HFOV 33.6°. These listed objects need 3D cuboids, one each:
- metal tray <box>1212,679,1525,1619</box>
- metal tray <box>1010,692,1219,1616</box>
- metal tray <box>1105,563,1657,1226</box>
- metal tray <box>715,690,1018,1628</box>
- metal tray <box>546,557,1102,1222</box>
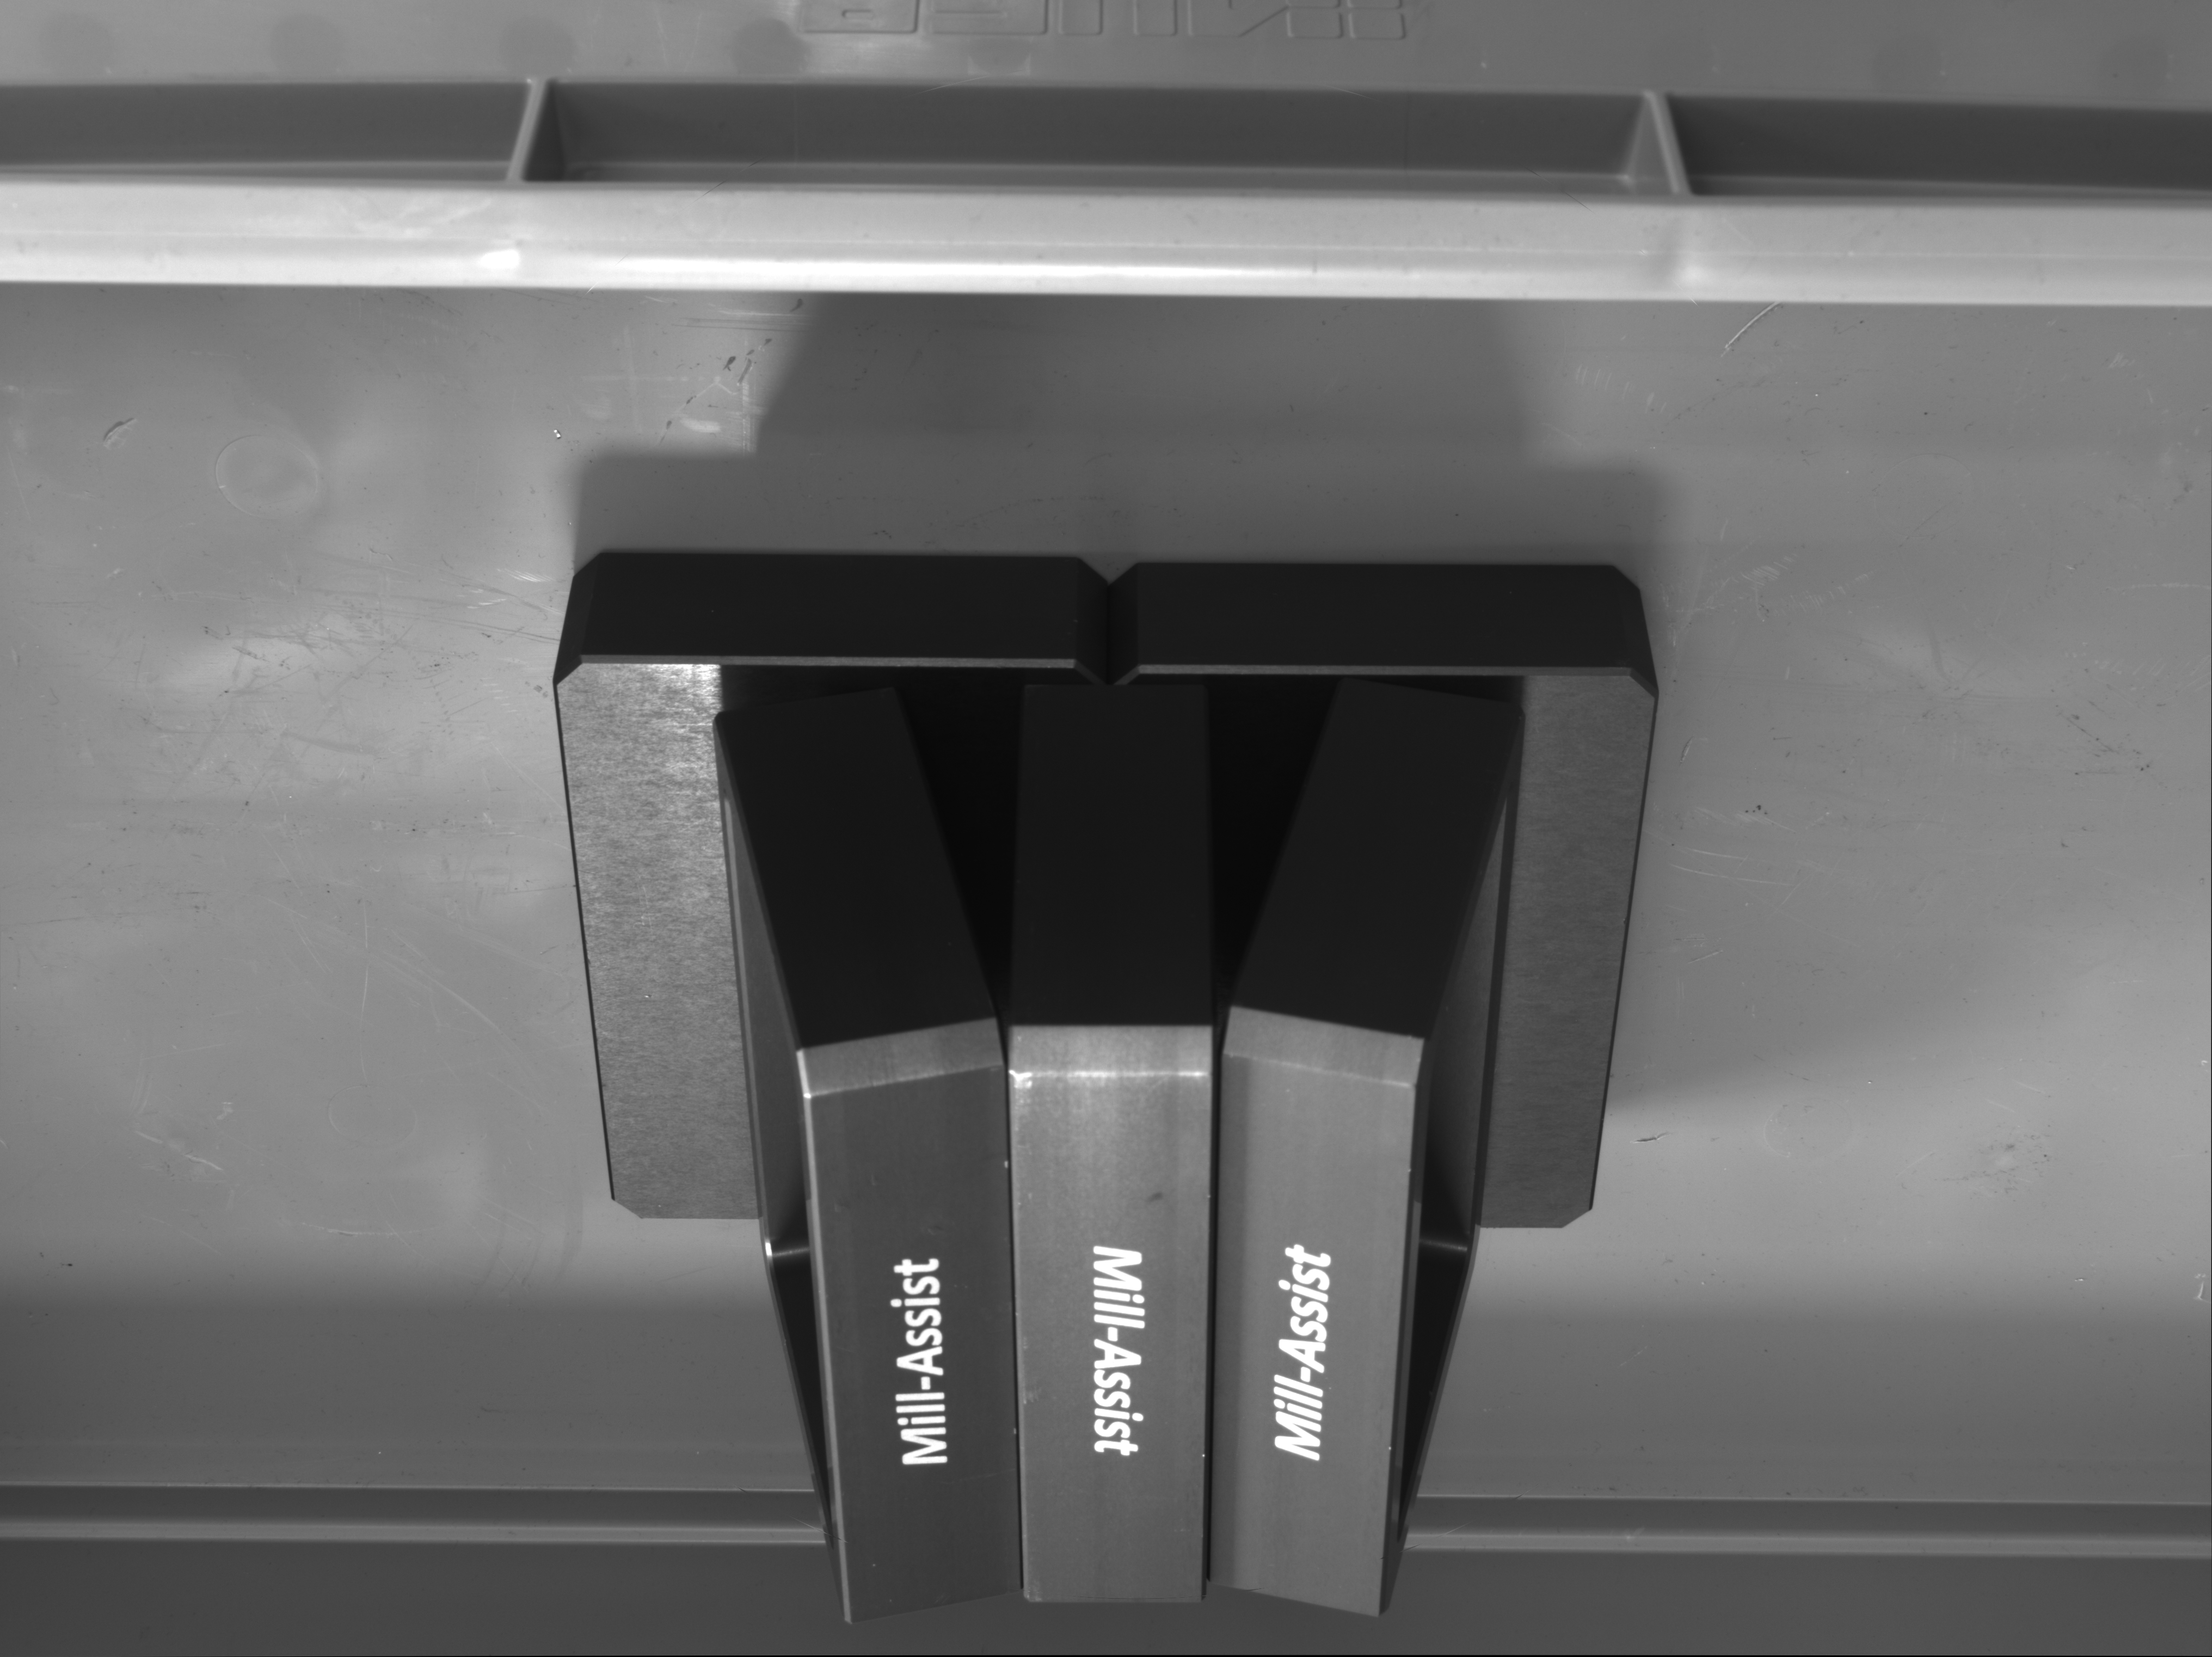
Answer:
[{"bbox_3d":[0.042,0.053,0.597,0.030,0.090,0.130,9,131,11],"label":"metal tray"},{"bbox_3d":[0.002,0.054,0.599,0.030,0.090,0.130,0,128,0],"label":"metal tray"},{"bbox_3d":[0.045,0.014,0.647,0.090,0.030,0.130,0,130,0],"label":"metal tray"},{"bbox_3d":[-0.039,0.055,0.598,0.030,0.090,0.130,-8,131,-9],"label":"metal tray"},{"bbox_3d":[-0.046,0.014,0.644,0.090,0.030,0.130,0,130,0],"label":"metal tray"}]
